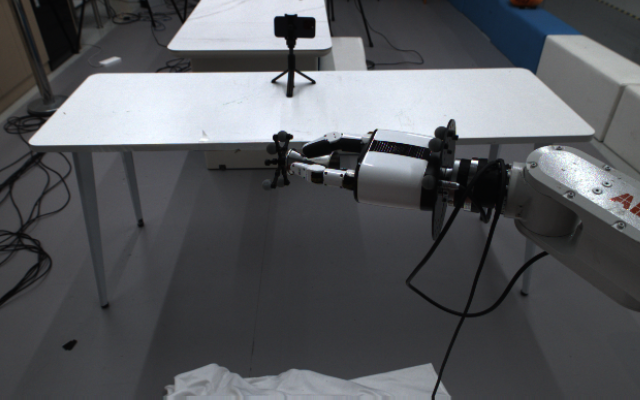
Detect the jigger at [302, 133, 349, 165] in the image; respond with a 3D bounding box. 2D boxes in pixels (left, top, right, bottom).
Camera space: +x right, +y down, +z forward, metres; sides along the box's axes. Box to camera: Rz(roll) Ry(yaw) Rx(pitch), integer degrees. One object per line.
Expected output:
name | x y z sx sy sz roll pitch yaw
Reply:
jigger | -0.005 -0.055 0.692 0.071 0.043 0.043 8 34 23
